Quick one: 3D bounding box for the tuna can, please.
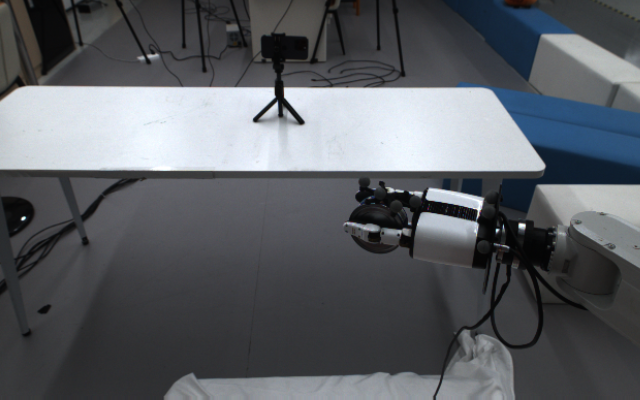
[{"bbox_3d":[0.091,0.035,0.733,0.085,0.085,0.034,16,29,19],"label":"tuna can"}]
